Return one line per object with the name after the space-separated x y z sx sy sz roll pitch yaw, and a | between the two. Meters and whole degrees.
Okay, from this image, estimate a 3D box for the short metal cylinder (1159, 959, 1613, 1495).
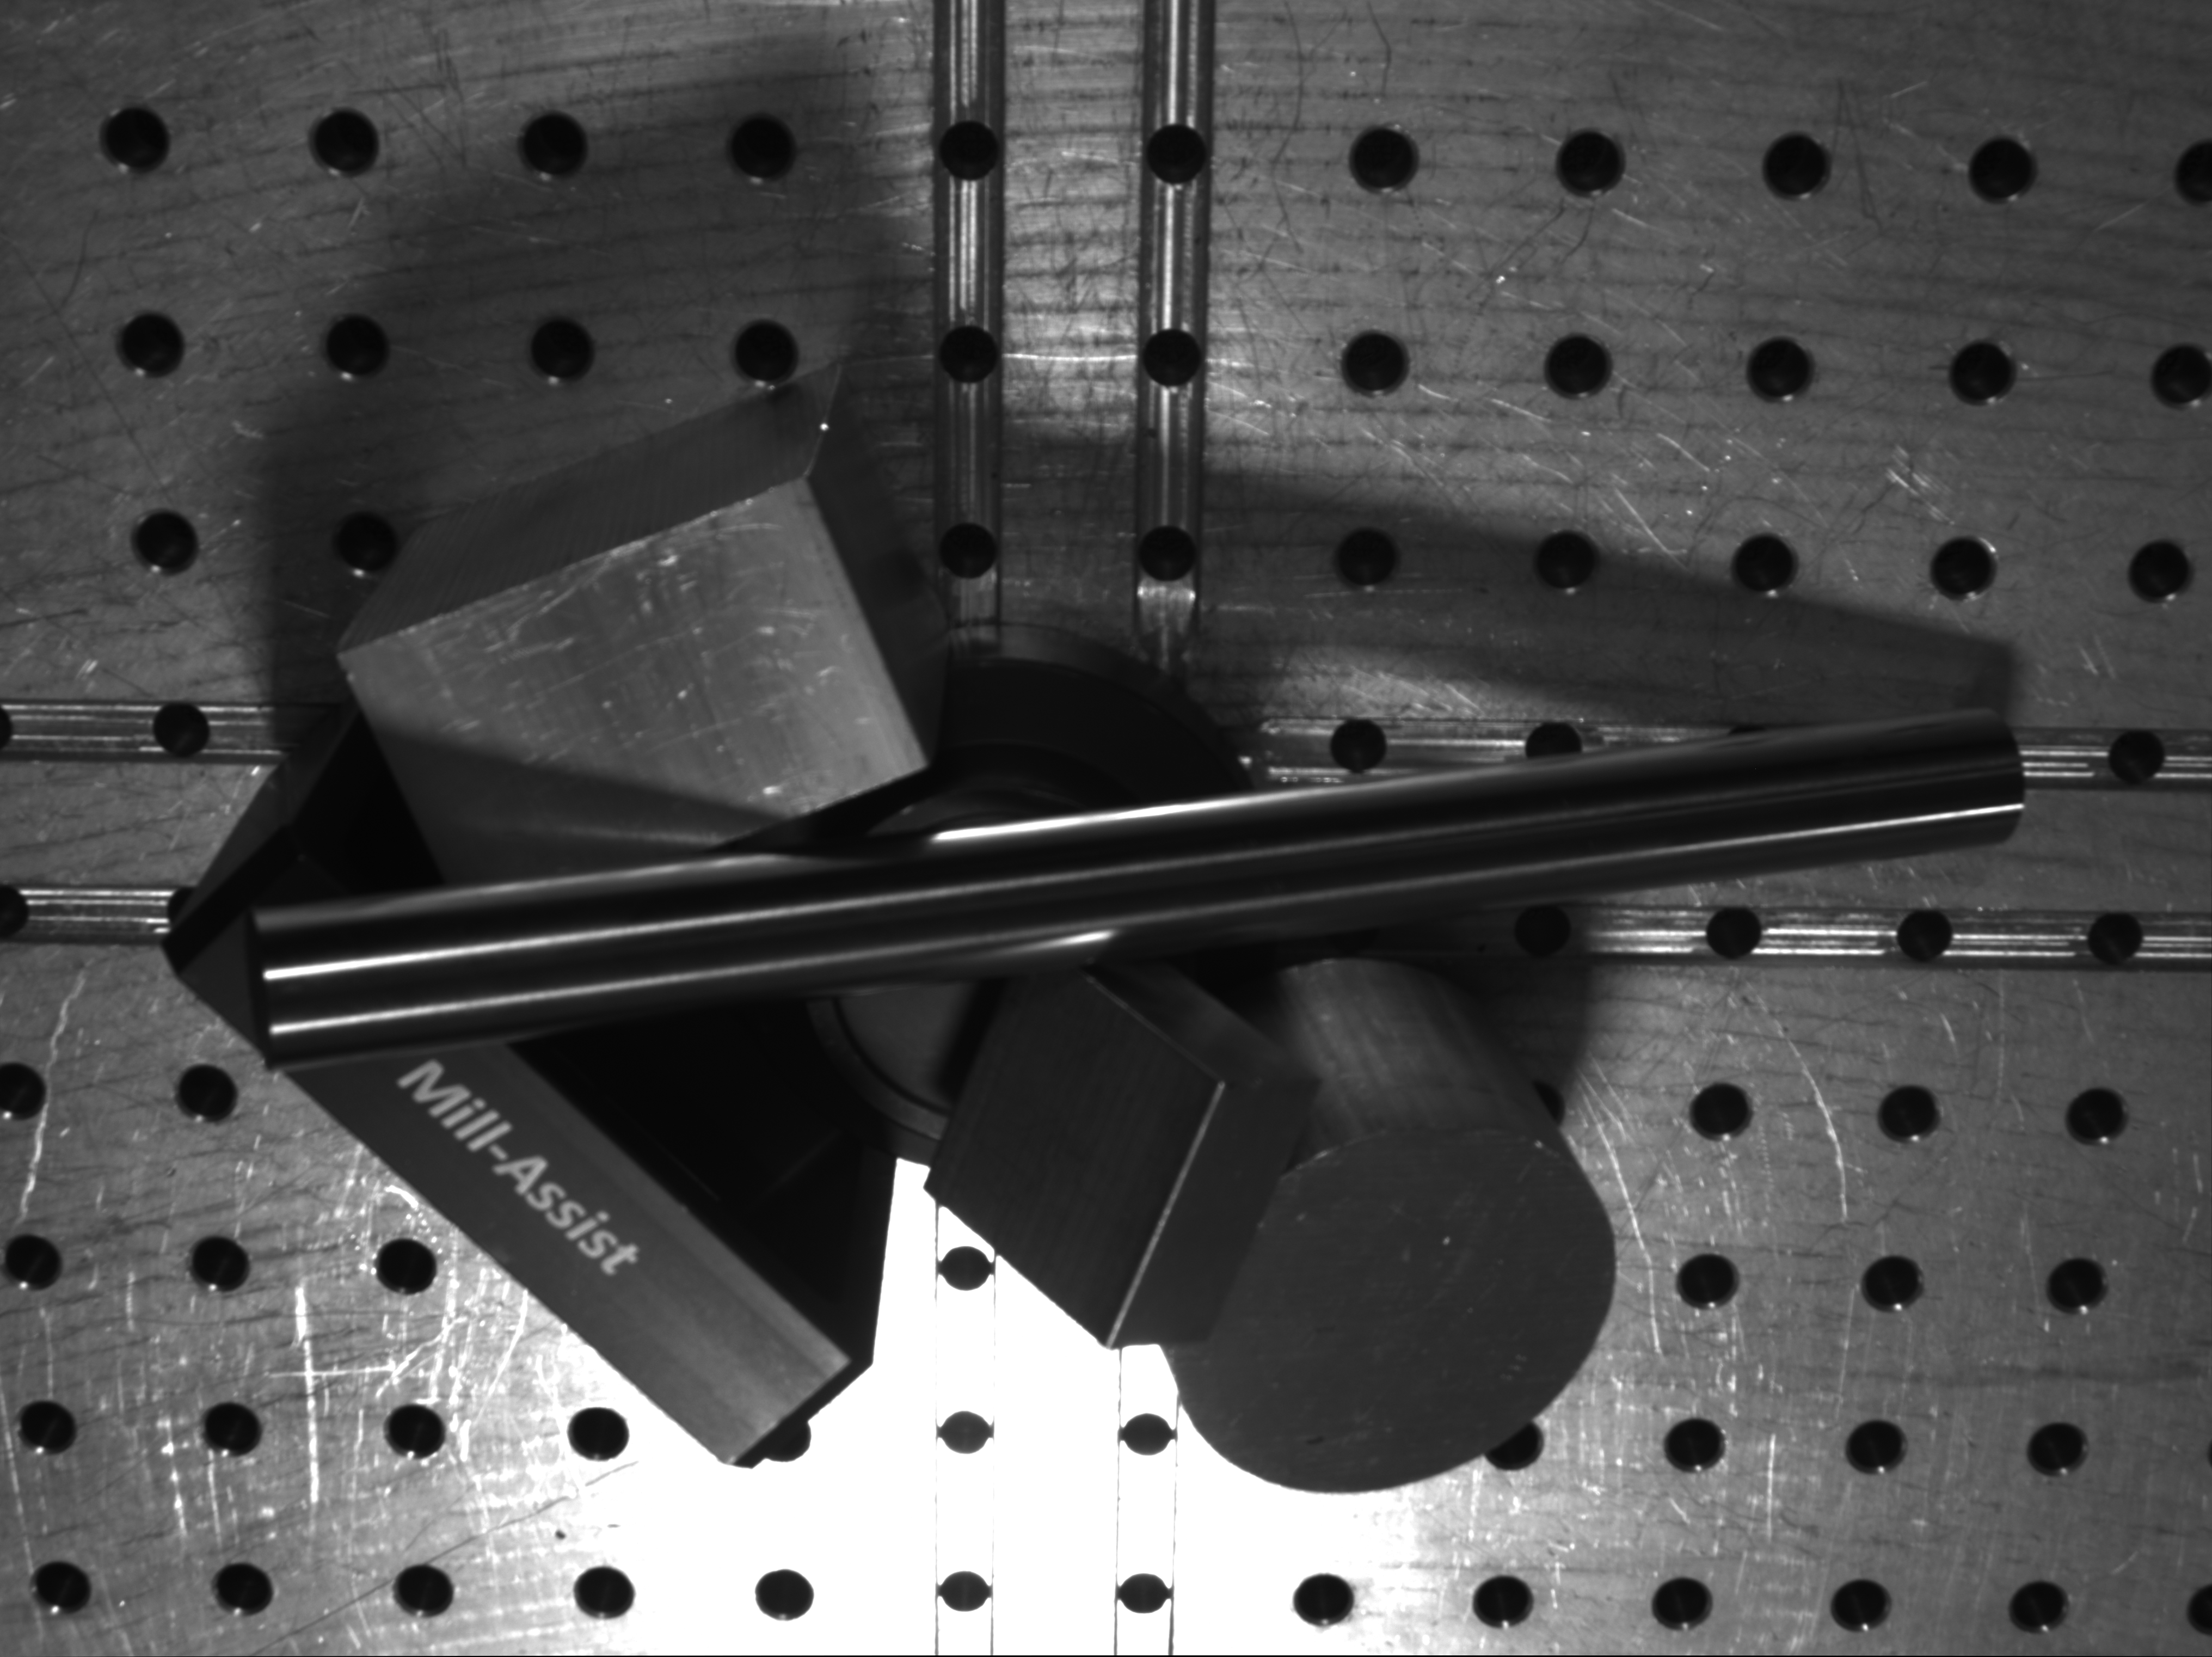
0.043 0.070 0.646 0.080 0.050 0.080 -8 124 -13 | short metal cylinder

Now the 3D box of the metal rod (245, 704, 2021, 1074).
0.013 0.007 0.598 0.301 0.025 0.025 -7 111 -19 | metal rod

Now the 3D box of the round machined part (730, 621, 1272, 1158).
-0.019 0.016 0.645 0.098 0.042 0.098 0 110 -1 | round machined part

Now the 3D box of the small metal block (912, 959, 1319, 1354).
0.001 0.051 0.604 0.025 0.050 0.050 4 115 -47 | small metal block

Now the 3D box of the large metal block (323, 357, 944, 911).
-0.074 -0.032 0.602 0.080 0.080 0.050 -20 109 7 | large metal block

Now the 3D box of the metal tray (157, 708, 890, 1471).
-0.094 0.039 0.623 0.030 0.090 0.130 -41 105 13 | metal tray
